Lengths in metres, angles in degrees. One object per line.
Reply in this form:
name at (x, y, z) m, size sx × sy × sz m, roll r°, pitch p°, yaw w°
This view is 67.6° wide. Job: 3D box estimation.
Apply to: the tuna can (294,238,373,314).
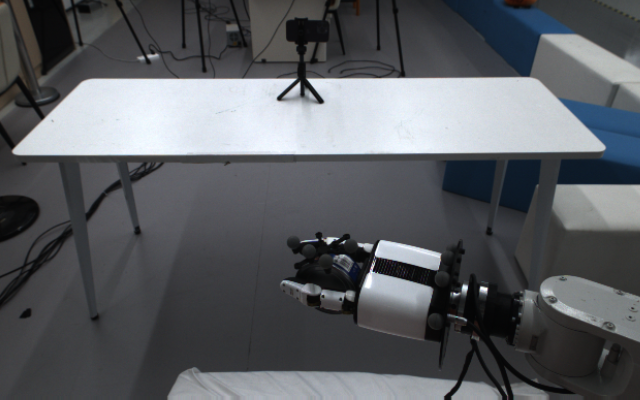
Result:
tuna can at (0.016, 0.111, 0.630) m, size 0.085 × 0.085 × 0.034 m, roll 15°, pitch 34°, yaw 17°
